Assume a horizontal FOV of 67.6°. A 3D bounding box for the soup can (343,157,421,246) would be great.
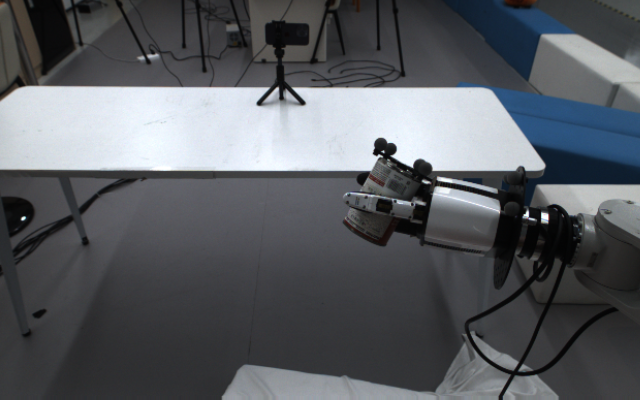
[{"bbox_3d":[0.085,0.002,0.651,0.067,0.101,0.067,27,10,-5],"label":"soup can"}]
